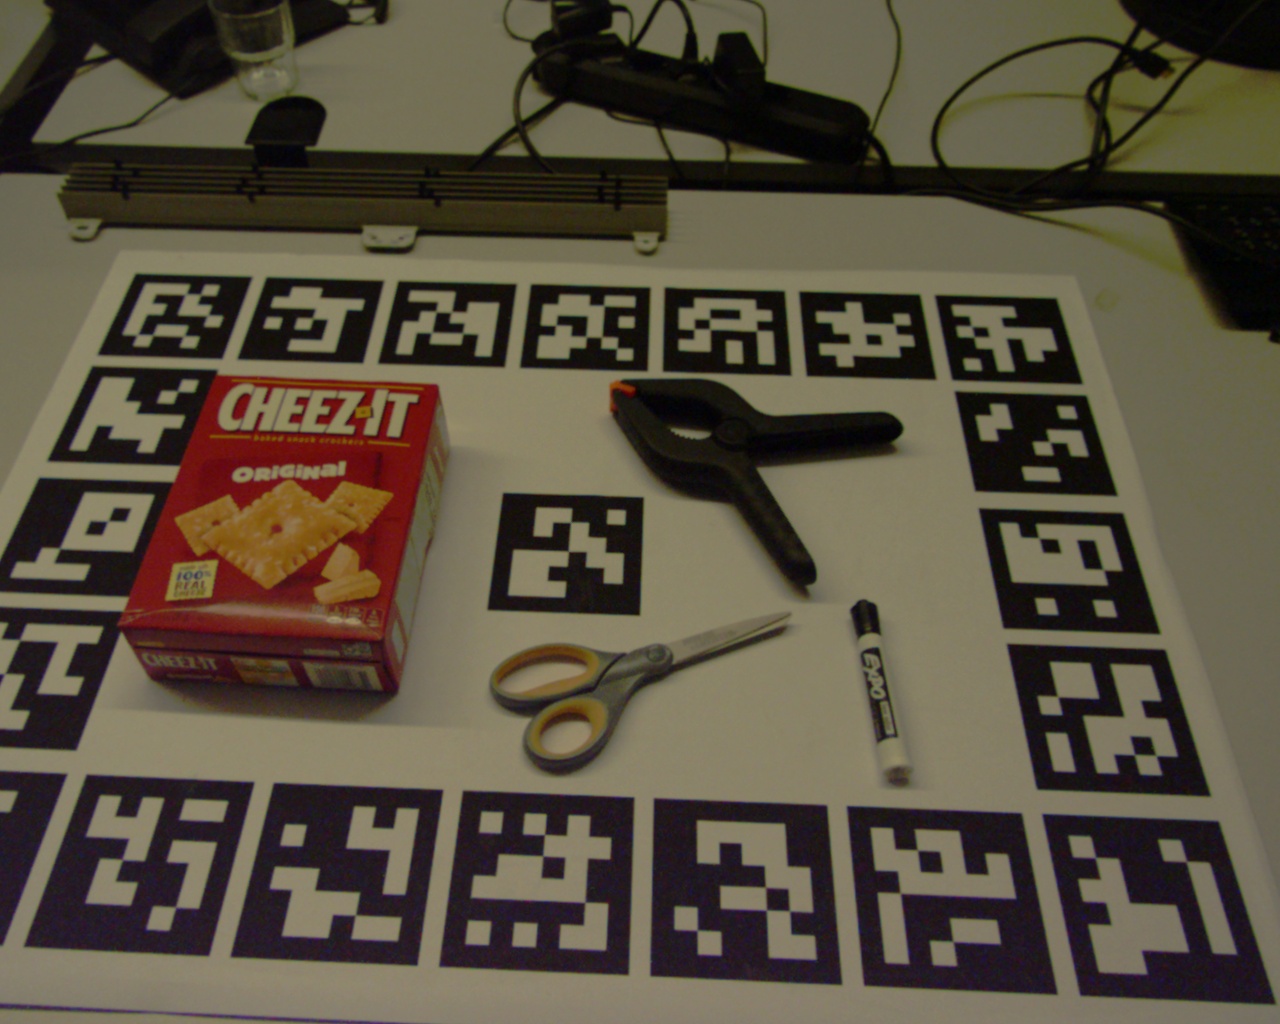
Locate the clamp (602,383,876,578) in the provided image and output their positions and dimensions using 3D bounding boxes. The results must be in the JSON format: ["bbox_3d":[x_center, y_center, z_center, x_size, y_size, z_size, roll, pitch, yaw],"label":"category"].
[{"bbox_3d":[0.057,-0.049,0.876,0.204,0.036,0.164,26,54,19],"label":"clamp"}]

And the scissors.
[{"bbox_3d":[0.003,0.093,0.755,0.201,0.016,0.088,-21,53,-19],"label":"scissors"}]

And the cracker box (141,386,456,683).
[{"bbox_3d":[-0.227,0.008,0.794,0.164,0.072,0.214,2,51,2],"label":"cracker box"}]

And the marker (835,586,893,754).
[{"bbox_3d":[0.146,0.100,0.747,0.019,0.019,0.121,-2,50,-1],"label":"marker"}]
